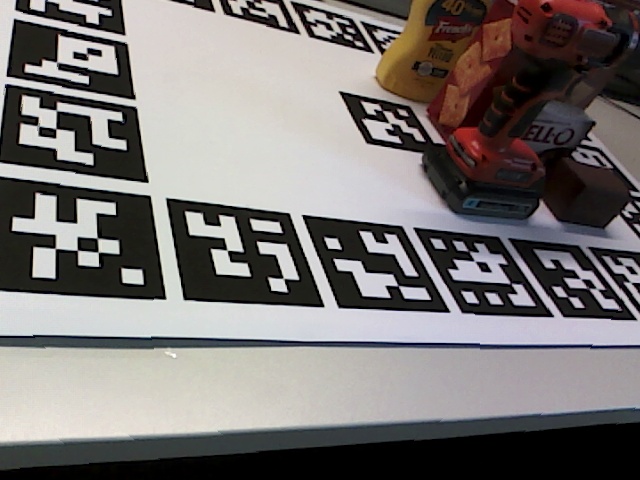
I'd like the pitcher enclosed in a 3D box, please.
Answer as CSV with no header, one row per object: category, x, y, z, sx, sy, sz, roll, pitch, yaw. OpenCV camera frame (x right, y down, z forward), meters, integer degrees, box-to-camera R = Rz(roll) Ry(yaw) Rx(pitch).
pitcher,0.273,-0.271,0.789,0.188,0.242,0.134,8,43,-20

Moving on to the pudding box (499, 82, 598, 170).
pudding box,0.241,-0.126,0.703,0.113,0.090,0.039,4,43,-23

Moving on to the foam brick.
foam brick,0.297,-0.052,0.707,0.077,0.051,0.053,7,45,-25

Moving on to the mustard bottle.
mustard bottle,0.150,-0.273,0.737,0.096,0.191,0.058,15,42,-16

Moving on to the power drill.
power drill,0.228,-0.134,0.593,0.183,0.187,0.058,5,41,-28

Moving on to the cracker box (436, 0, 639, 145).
cracker box,0.256,-0.197,0.705,0.163,0.213,0.072,2,44,-26
